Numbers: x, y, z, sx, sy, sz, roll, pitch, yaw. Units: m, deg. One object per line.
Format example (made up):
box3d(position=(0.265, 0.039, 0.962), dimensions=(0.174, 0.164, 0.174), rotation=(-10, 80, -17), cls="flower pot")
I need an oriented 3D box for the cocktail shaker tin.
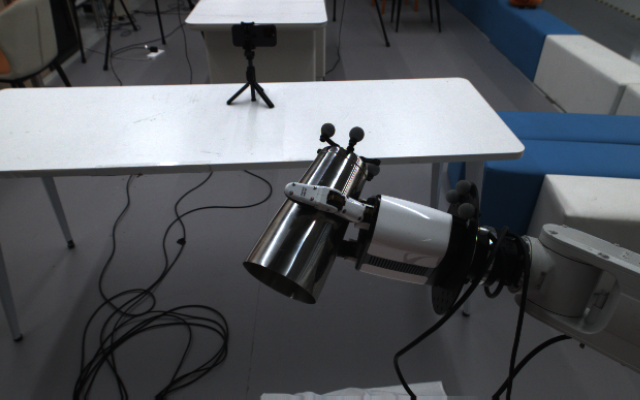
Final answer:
box3d(position=(-0.004, 0.021, 0.561), dimensions=(0.093, 0.093, 0.170), rotation=(17, 66, 21), cls="cocktail shaker tin")
